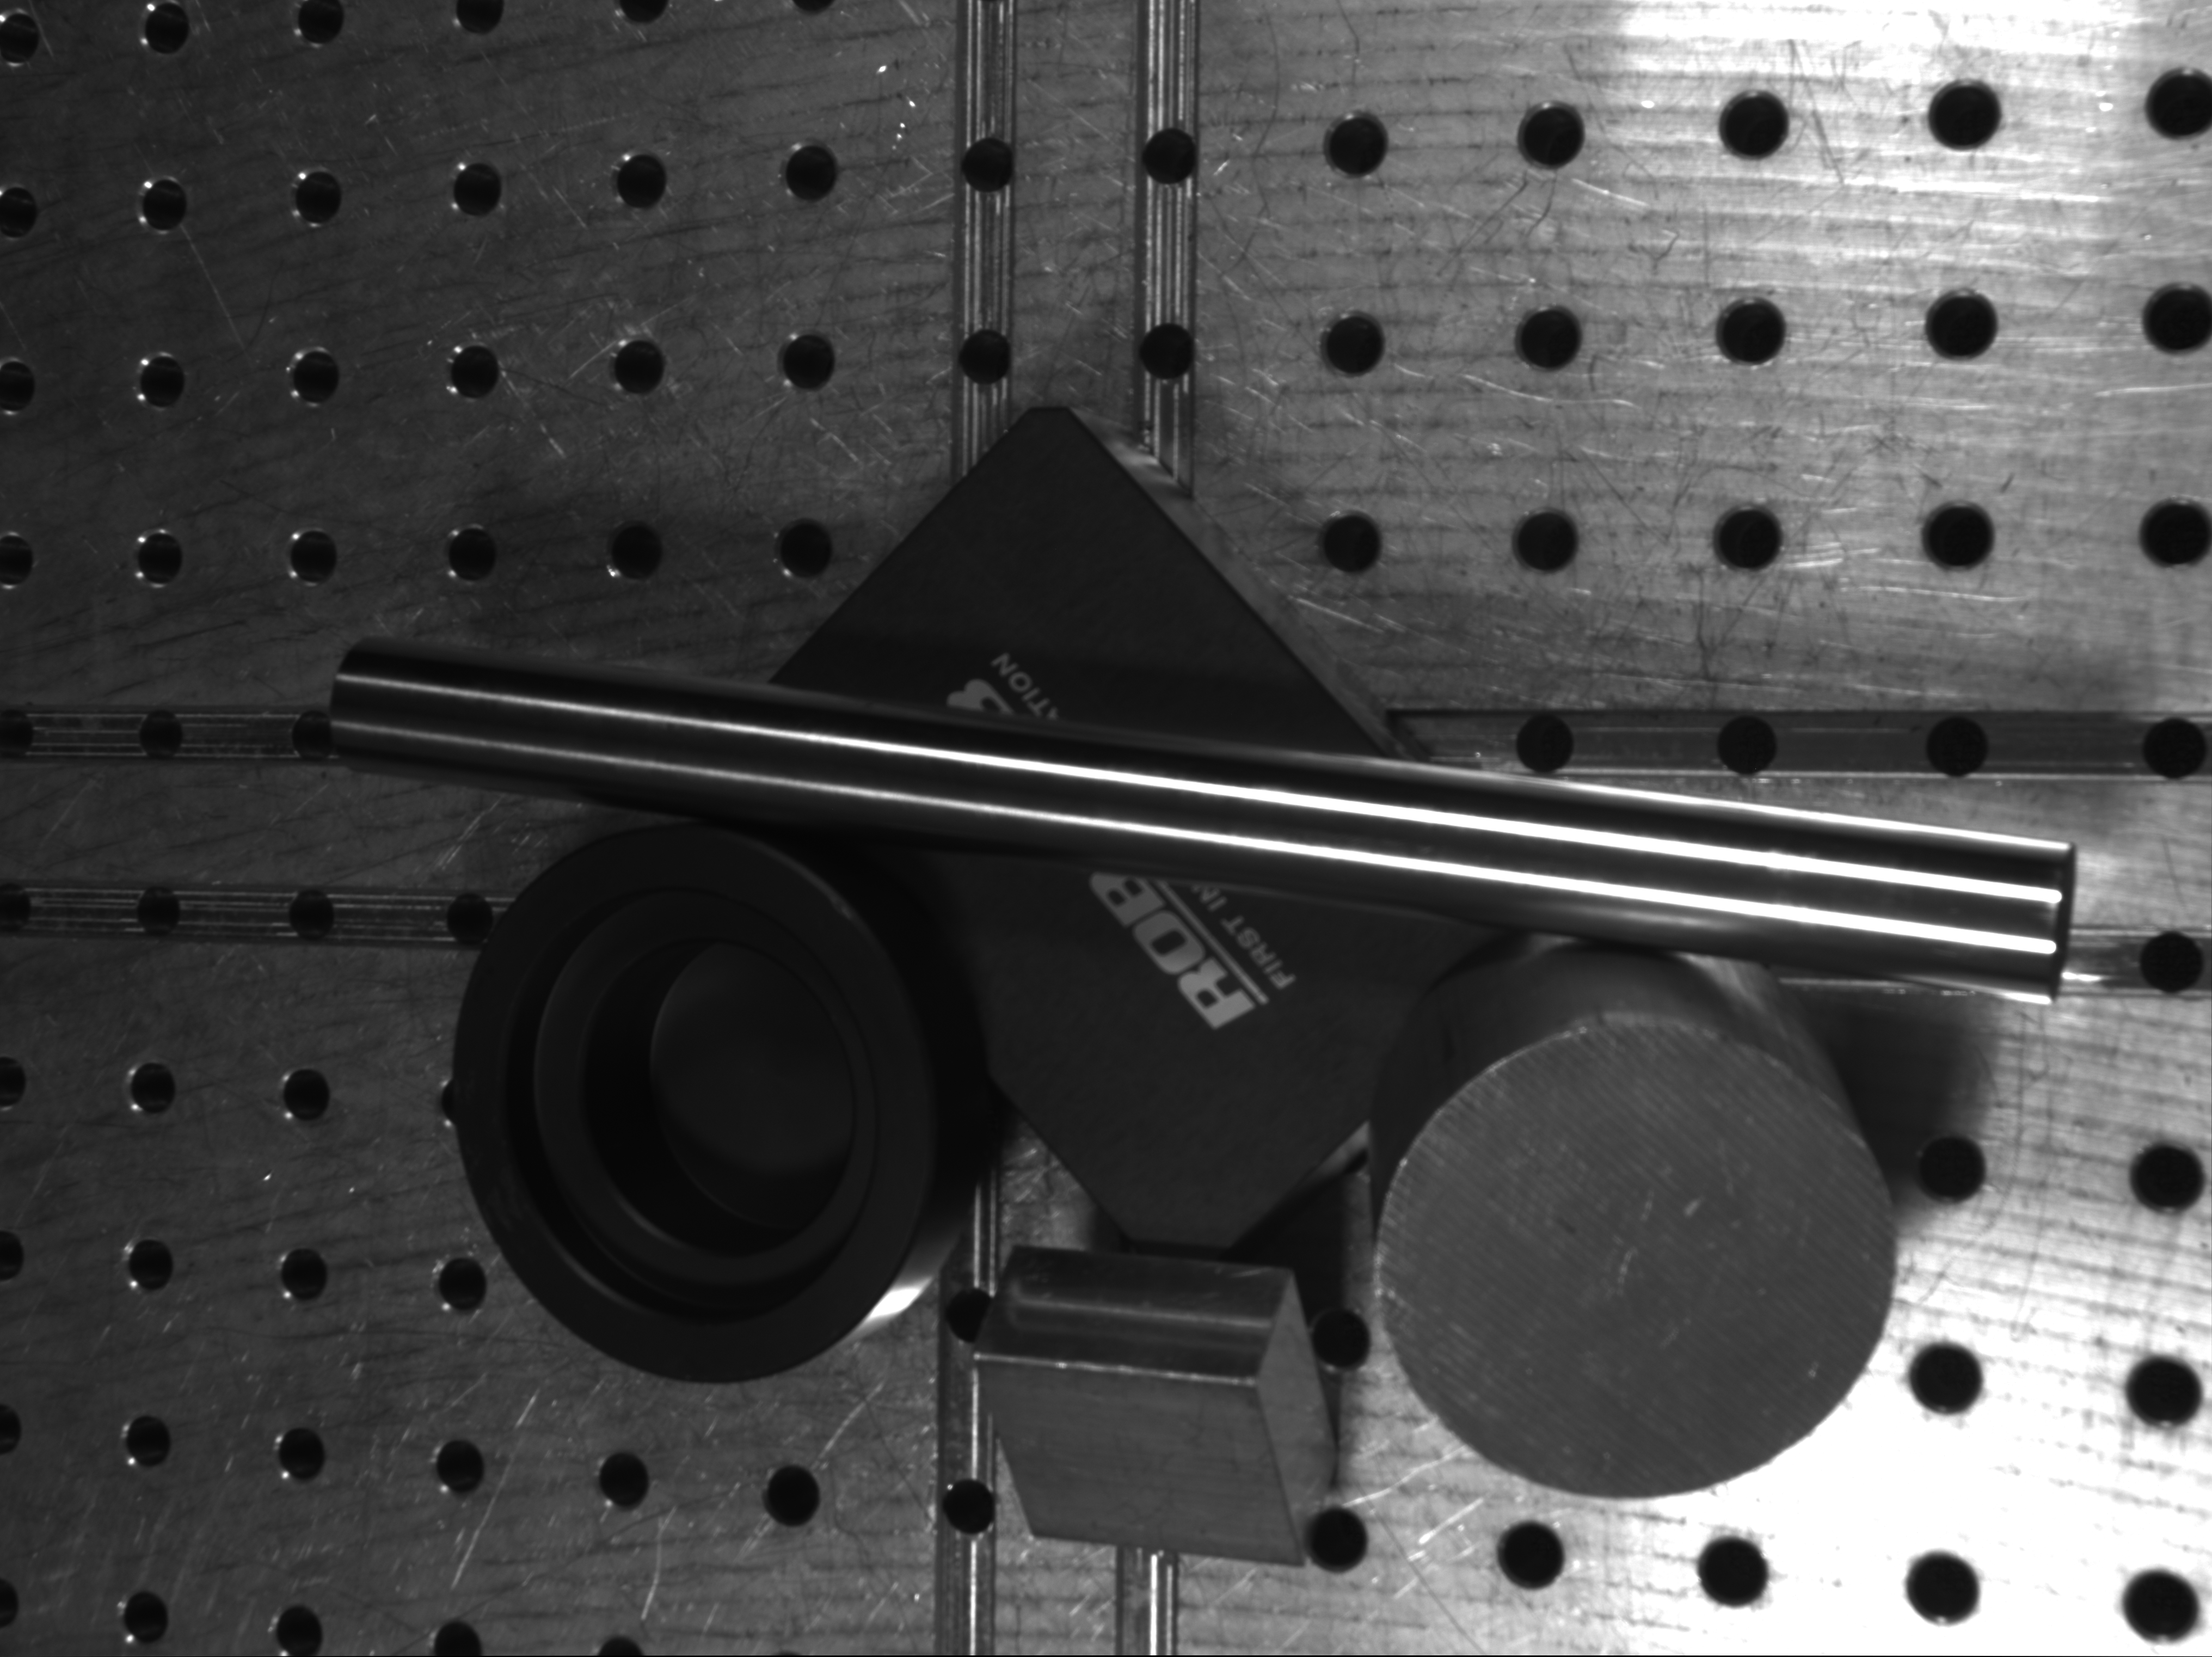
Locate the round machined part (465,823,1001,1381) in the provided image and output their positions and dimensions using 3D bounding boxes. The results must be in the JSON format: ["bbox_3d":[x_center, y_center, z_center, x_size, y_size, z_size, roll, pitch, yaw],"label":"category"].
[{"bbox_3d":[-0.062,0.046,0.655,0.098,0.042,0.098,3,97,25],"label":"round machined part"}]

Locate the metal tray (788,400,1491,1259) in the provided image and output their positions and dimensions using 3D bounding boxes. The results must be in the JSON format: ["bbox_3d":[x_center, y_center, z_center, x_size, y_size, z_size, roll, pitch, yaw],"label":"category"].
[{"bbox_3d":[0.010,0.001,0.642,0.090,0.030,0.130,-45,76,14],"label":"metal tray"}]

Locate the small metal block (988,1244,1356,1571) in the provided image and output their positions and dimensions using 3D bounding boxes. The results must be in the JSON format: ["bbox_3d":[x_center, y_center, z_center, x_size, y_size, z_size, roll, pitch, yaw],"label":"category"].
[{"bbox_3d":[0.012,0.099,0.628,0.050,0.025,0.050,3,134,19],"label":"small metal block"}]

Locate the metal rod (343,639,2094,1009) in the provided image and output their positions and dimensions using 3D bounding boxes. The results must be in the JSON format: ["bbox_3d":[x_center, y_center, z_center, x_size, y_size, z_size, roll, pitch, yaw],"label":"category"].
[{"bbox_3d":[0.009,-0.003,0.610,0.299,0.025,0.025,8,92,19],"label":"metal rod"}]

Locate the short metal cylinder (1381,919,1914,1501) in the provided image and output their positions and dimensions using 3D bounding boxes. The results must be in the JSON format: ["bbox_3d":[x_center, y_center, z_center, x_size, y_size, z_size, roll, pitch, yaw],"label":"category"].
[{"bbox_3d":[0.085,0.060,0.587,0.080,0.050,0.080,1,108,2],"label":"short metal cylinder"}]
